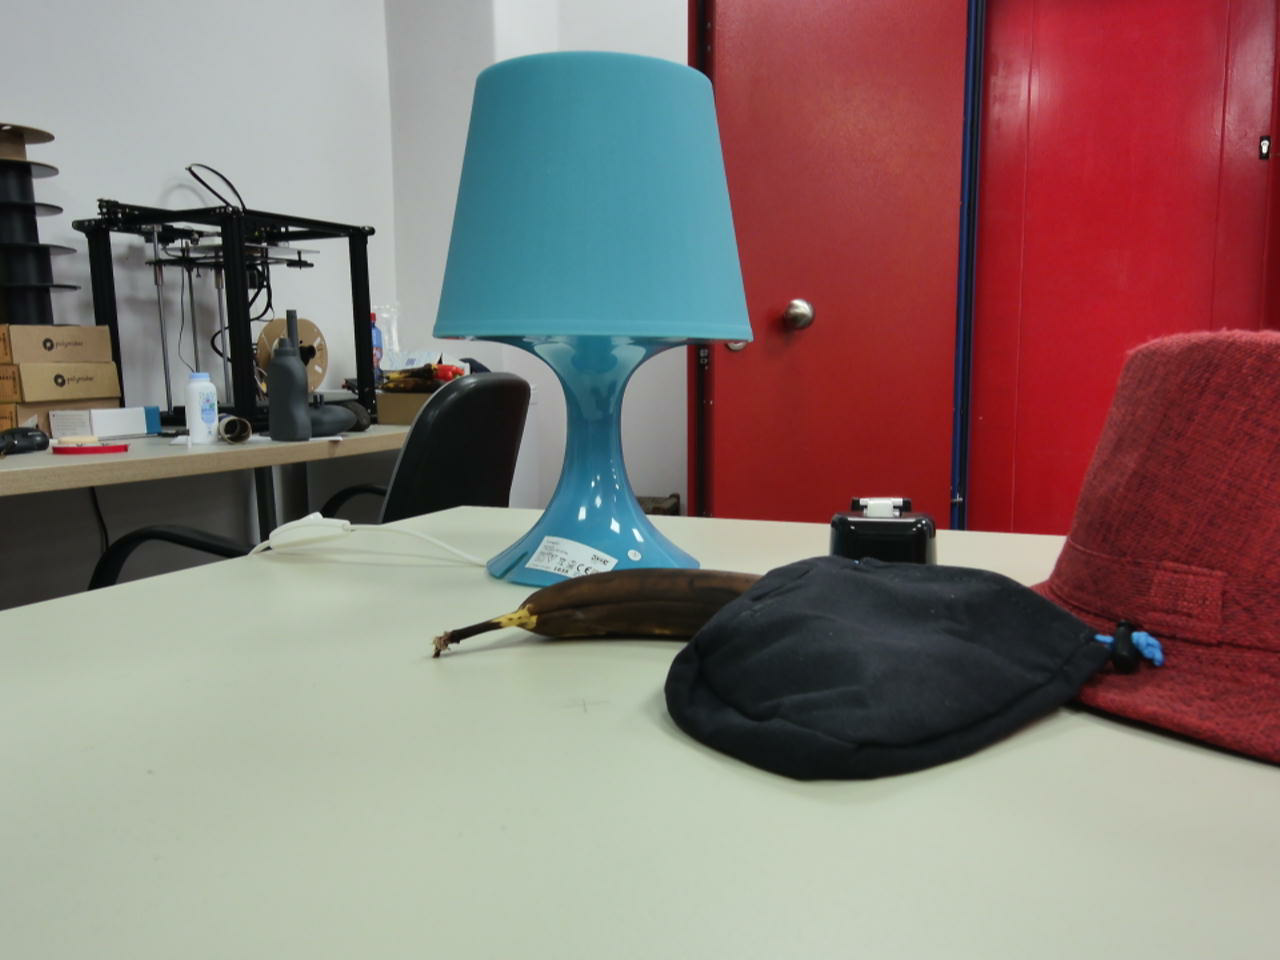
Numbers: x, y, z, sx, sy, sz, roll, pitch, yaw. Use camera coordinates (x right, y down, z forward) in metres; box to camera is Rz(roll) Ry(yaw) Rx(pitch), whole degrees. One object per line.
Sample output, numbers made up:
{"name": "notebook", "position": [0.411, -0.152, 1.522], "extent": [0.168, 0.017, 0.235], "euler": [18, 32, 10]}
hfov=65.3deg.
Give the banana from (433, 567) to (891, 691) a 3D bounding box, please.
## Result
{"name": "banana", "position": [0.016, 0.058, 0.426], "extent": [0.188, 0.033, 0.091], "euler": [2, 4, 26]}
